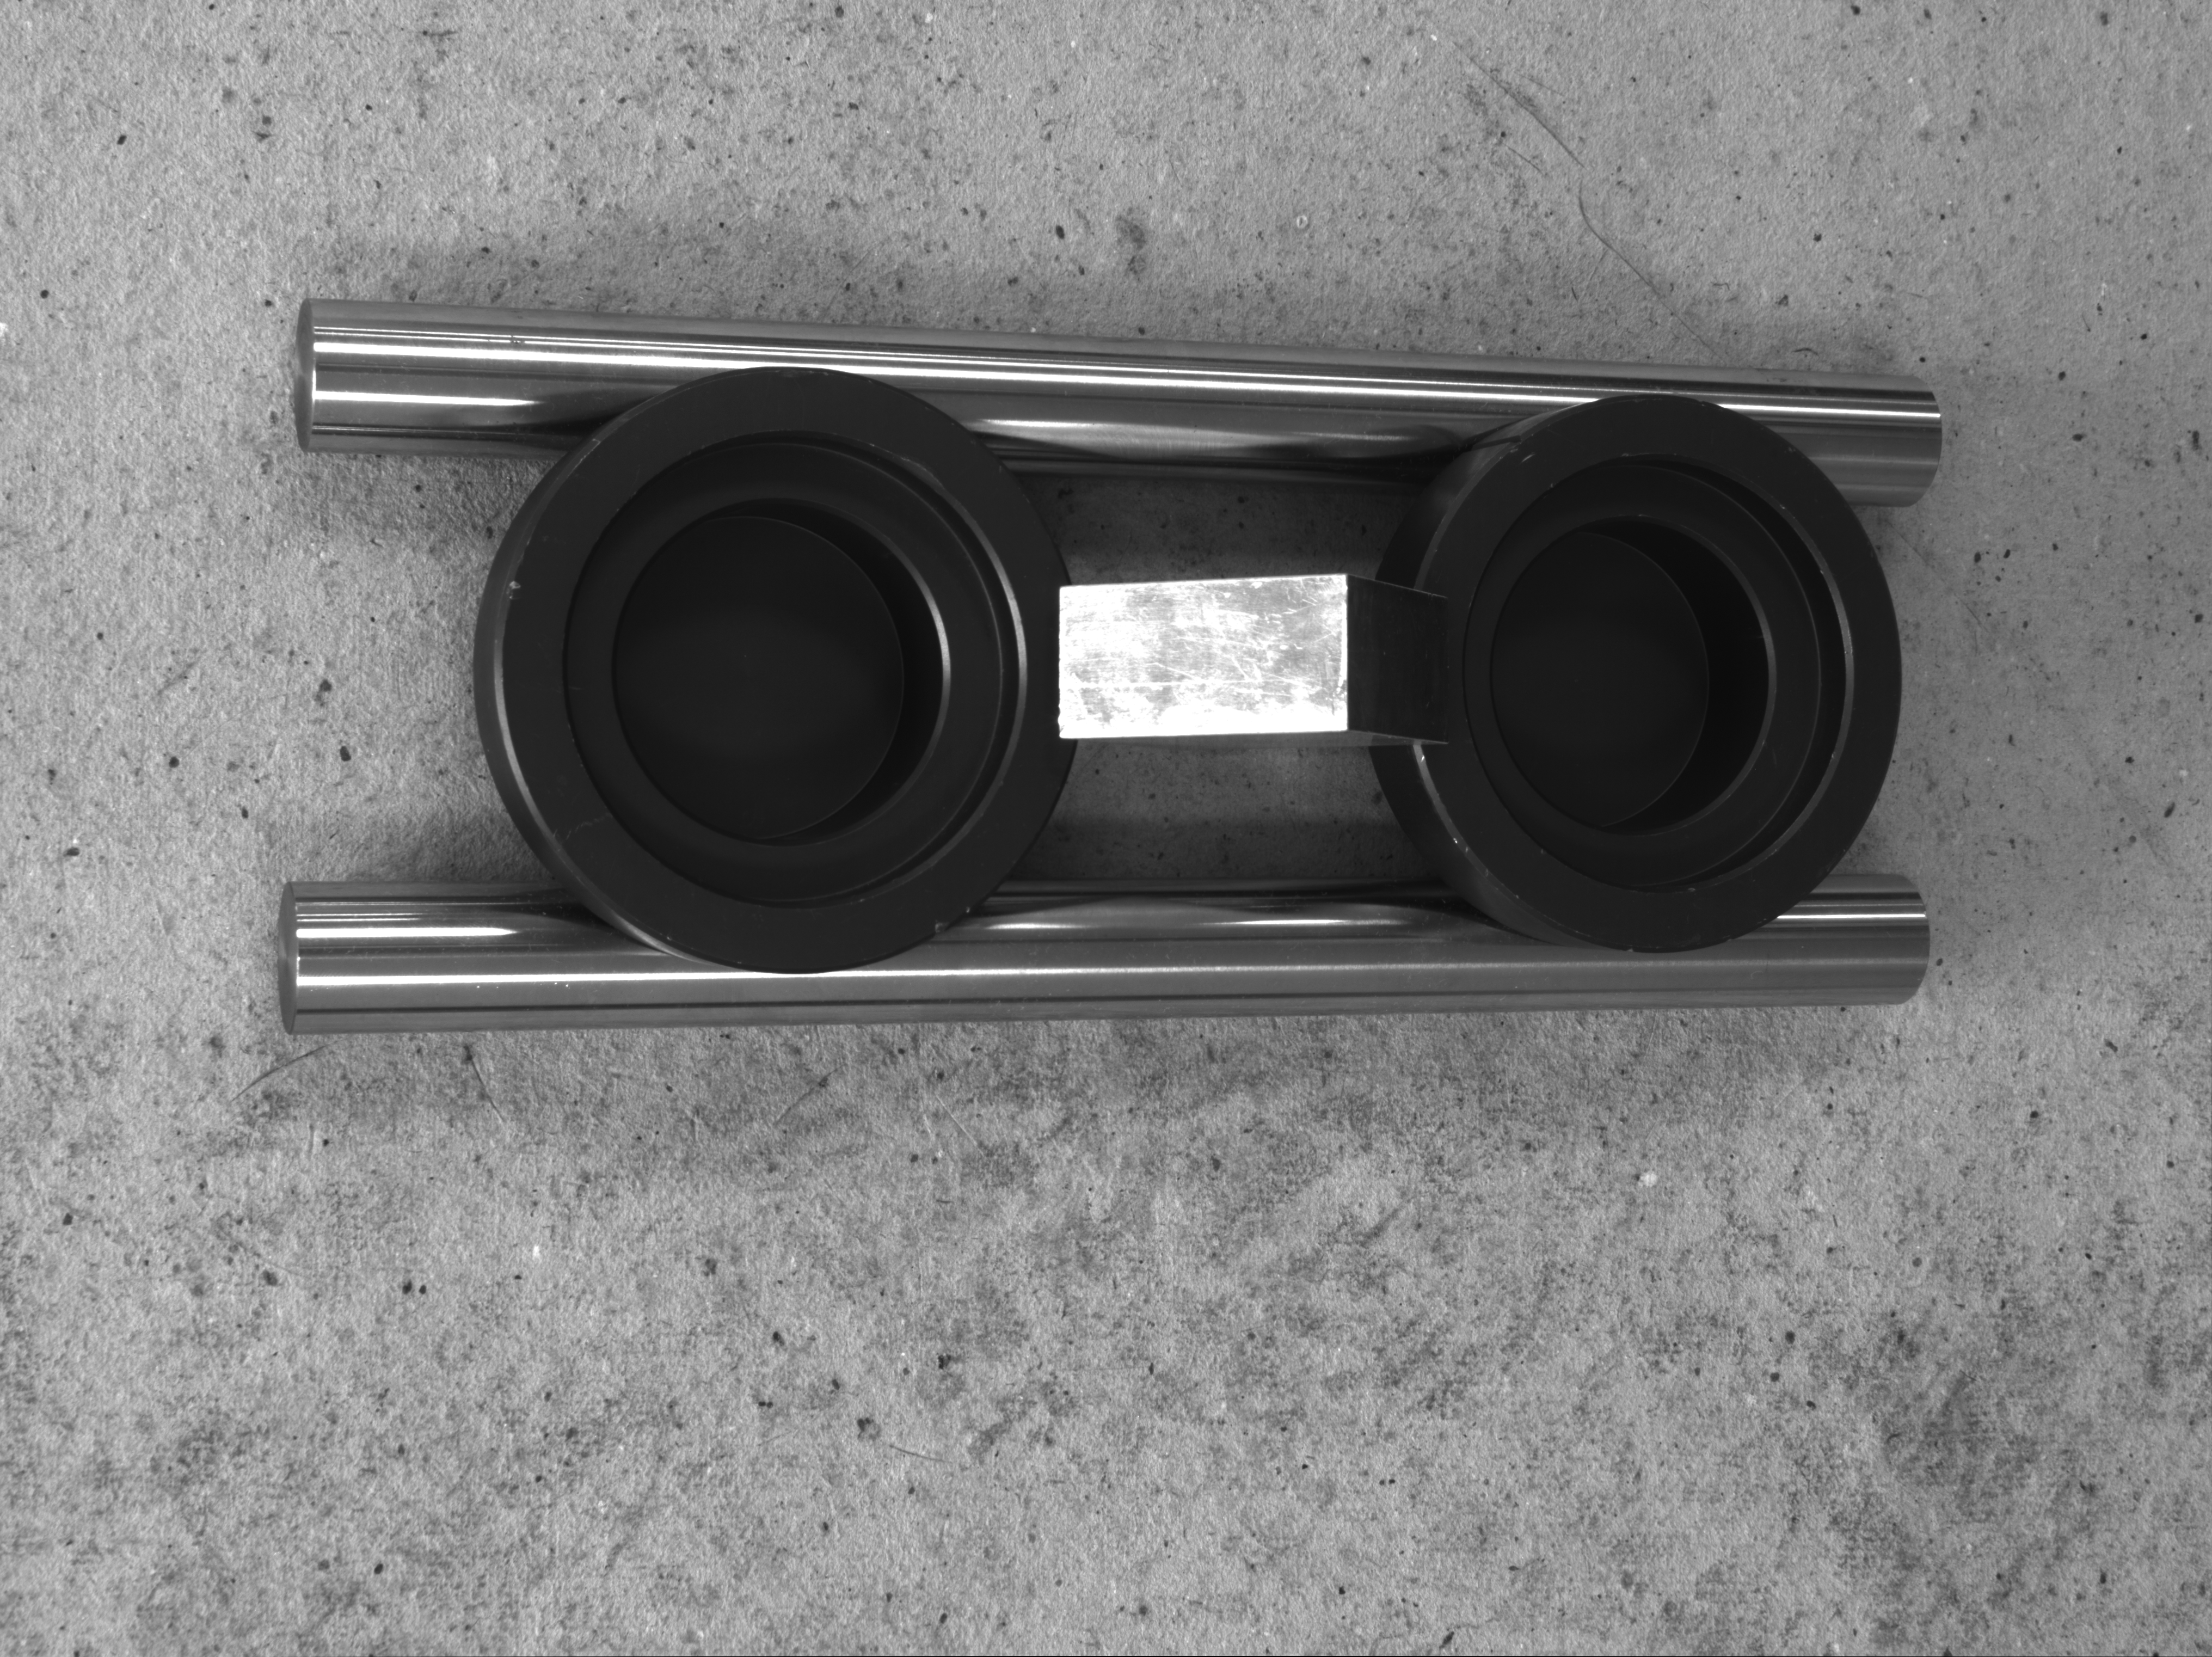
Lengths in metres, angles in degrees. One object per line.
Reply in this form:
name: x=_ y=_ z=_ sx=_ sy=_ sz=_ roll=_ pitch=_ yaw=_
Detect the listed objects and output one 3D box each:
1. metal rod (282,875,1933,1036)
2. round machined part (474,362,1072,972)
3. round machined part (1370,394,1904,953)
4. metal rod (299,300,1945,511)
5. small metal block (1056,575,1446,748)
metal rod: x=0.009 y=0.021 z=0.646 sx=0.301 sy=0.025 sz=0.025 roll=0 pitch=90 yaw=-20
round machined part: x=-0.057 y=-0.026 z=0.610 sx=0.098 sy=0.042 sz=0.098 roll=0 pitch=90 yaw=-20
round machined part: x=0.090 y=-0.027 z=0.662 sx=0.098 sy=0.042 sz=0.098 roll=0 pitch=90 yaw=-20
metal rod: x=0.011 y=-0.073 z=0.647 sx=0.301 sy=0.025 sz=0.025 roll=0 pitch=90 yaw=-20
small metal block: x=0.025 y=-0.027 z=0.612 sx=0.050 sy=0.050 sz=0.025 roll=-1 pitch=89 yaw=24
